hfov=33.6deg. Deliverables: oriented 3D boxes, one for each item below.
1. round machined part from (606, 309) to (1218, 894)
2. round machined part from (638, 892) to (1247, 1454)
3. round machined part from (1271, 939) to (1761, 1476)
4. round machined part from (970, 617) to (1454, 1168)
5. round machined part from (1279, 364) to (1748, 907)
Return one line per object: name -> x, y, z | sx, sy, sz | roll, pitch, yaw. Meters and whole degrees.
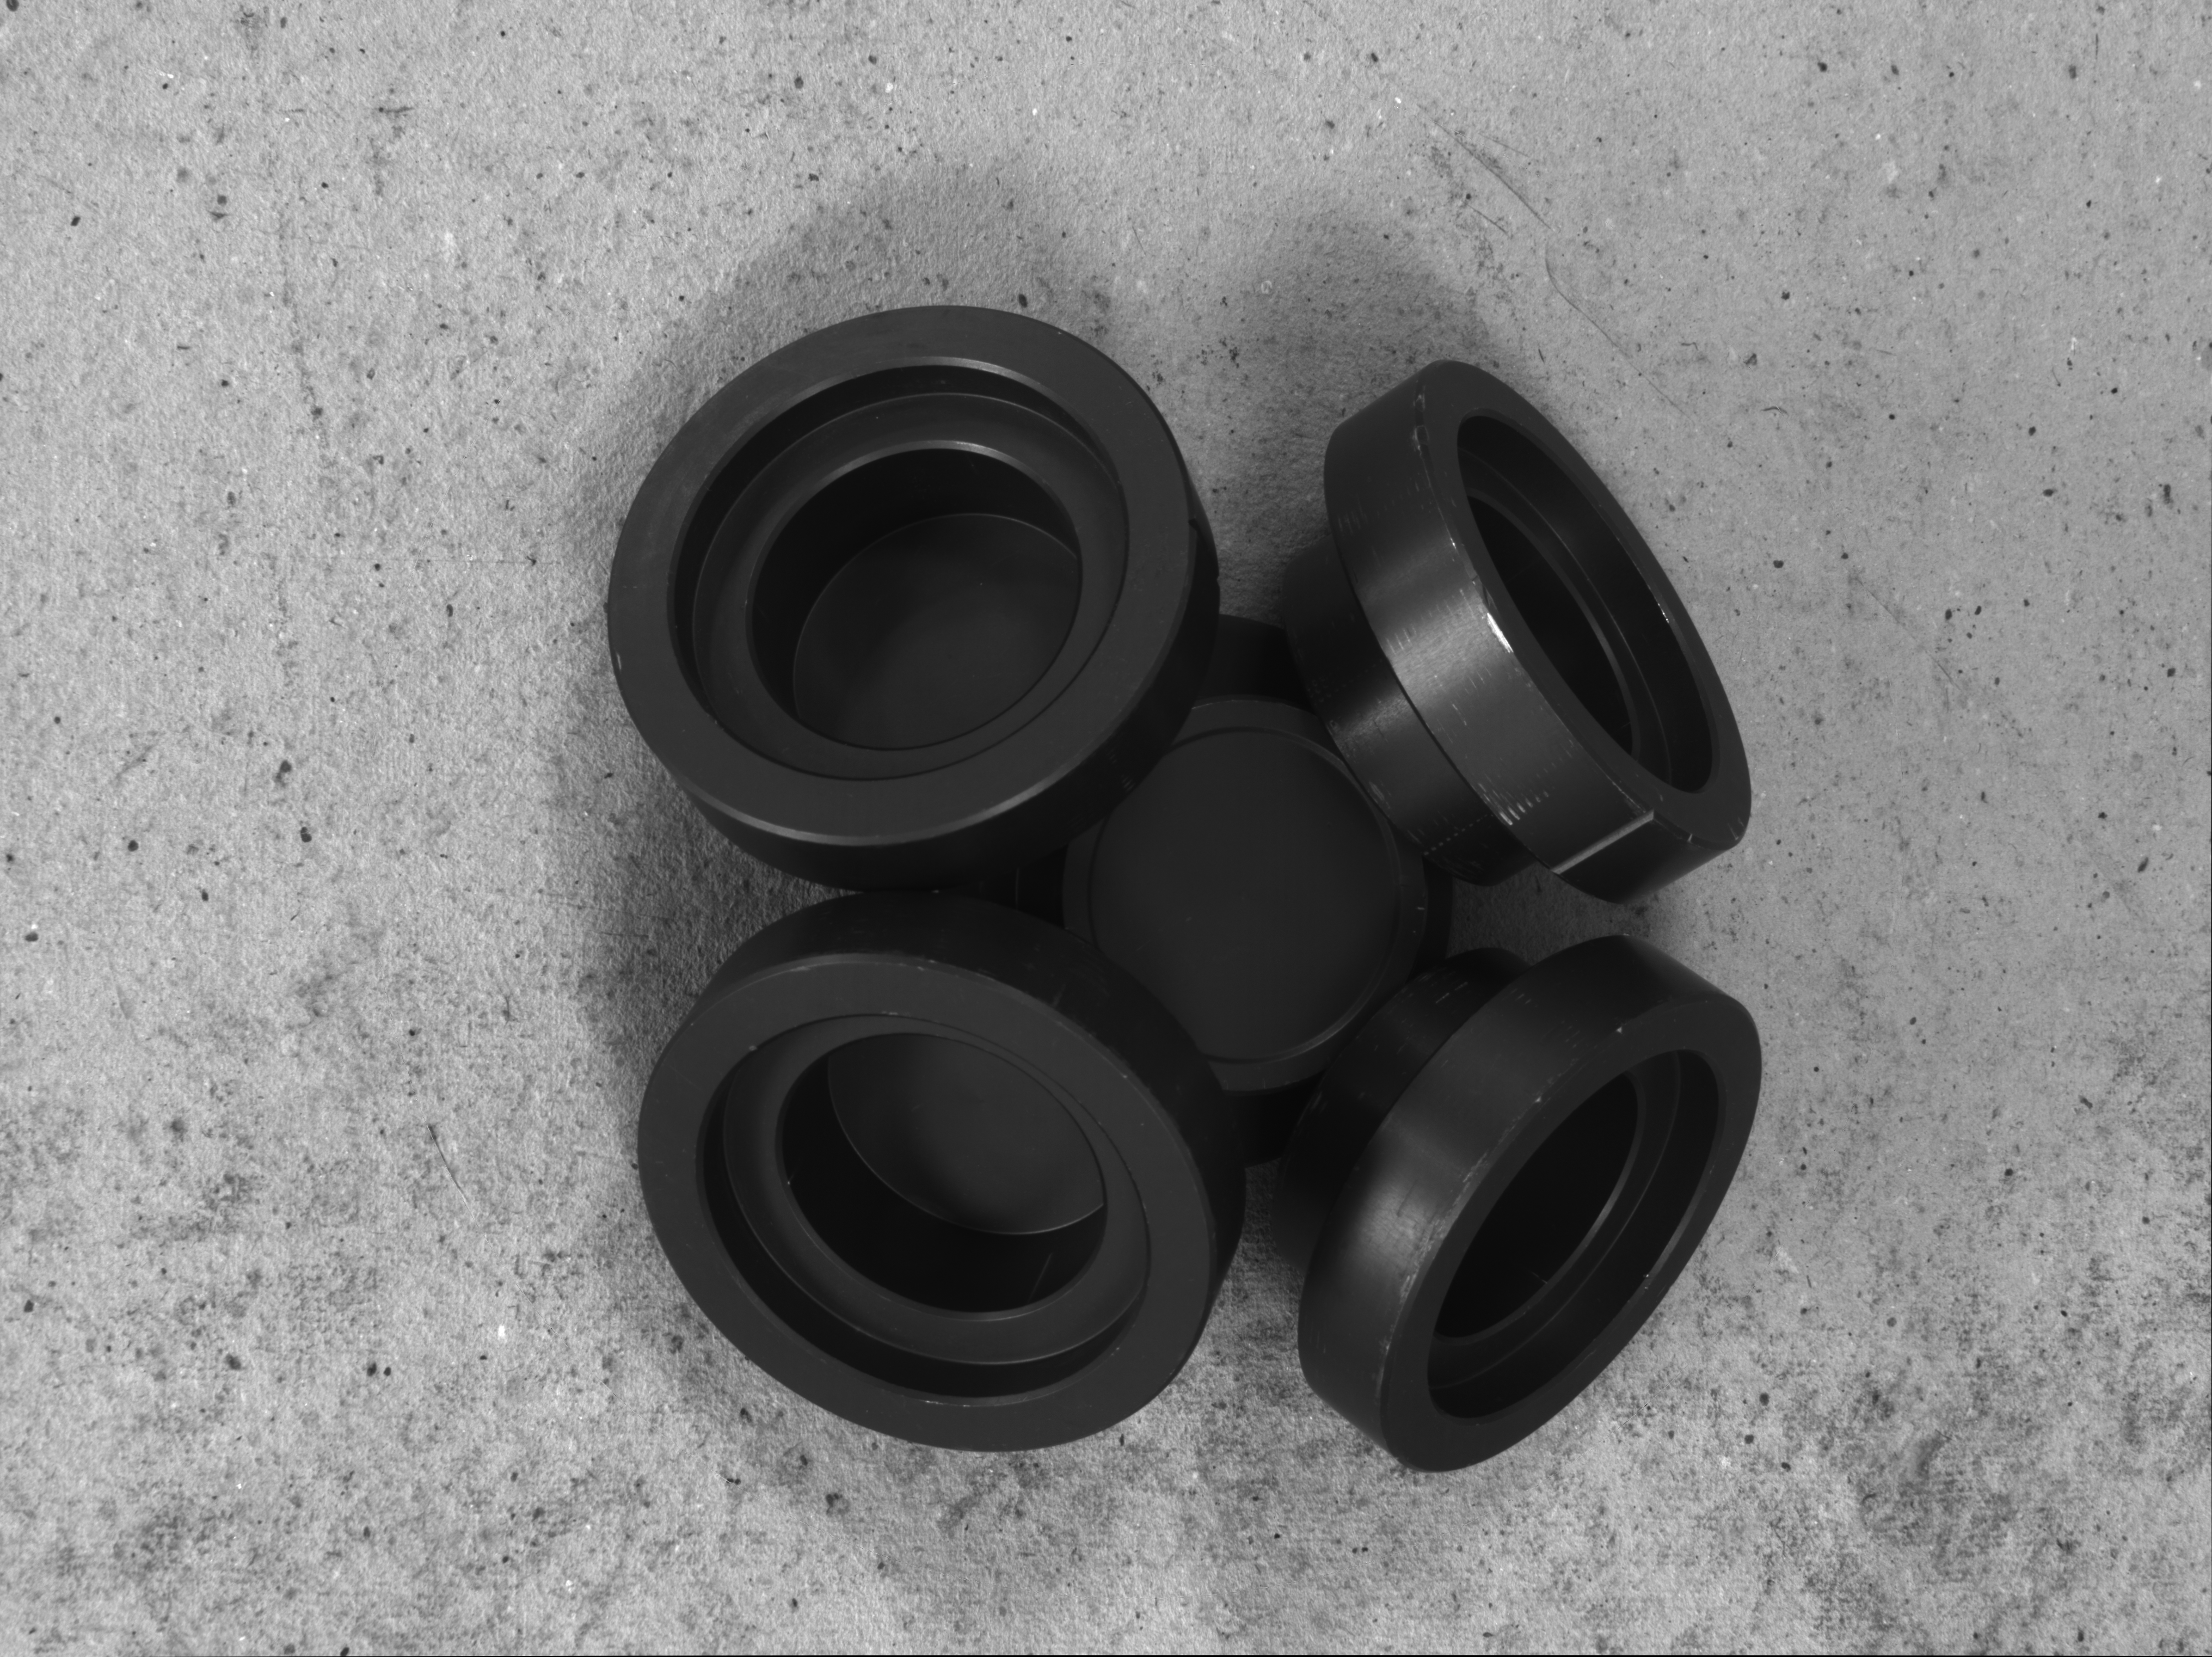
round machined part -> -0.029, -0.033, 0.606 | 0.098, 0.042, 0.098 | -6, 64, 12
round machined part -> -0.024, 0.052, 0.607 | 0.098, 0.098, 0.042 | 48, 32, -13
round machined part -> 0.067, 0.061, 0.641 | 0.098, 0.042, 0.098 | -33, 142, -30
round machined part -> 0.017, 0.011, 0.640 | 0.098, 0.042, 0.098 | 1, 88, -21
round machined part -> 0.067, -0.029, 0.640 | 0.042, 0.098, 0.098 | -32, 104, 25
